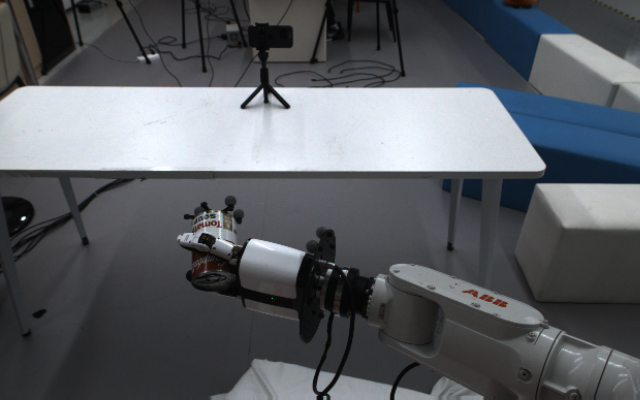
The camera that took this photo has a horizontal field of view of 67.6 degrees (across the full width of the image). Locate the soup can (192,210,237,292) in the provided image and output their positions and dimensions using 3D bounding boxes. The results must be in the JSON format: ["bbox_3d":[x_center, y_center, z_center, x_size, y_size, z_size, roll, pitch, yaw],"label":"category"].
[{"bbox_3d":[-0.155,0.076,0.712,0.067,0.067,0.101,-4,57,-9],"label":"soup can"}]
